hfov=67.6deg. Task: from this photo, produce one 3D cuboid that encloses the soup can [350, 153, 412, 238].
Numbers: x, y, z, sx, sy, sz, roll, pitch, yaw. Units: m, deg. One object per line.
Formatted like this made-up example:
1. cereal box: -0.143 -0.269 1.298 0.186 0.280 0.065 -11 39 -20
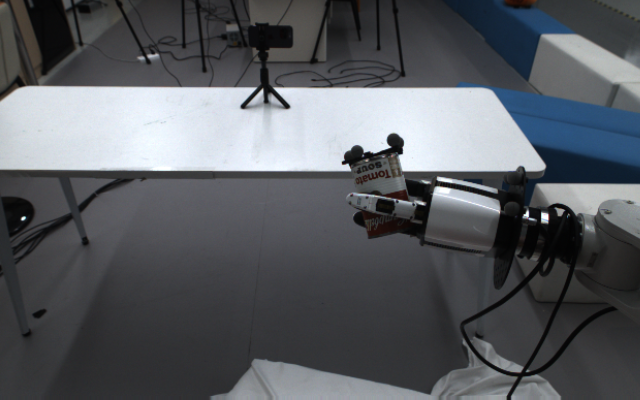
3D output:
1. soup can: 0.086 -0.005 0.650 0.067 0.101 0.067 -14 -2 -1
